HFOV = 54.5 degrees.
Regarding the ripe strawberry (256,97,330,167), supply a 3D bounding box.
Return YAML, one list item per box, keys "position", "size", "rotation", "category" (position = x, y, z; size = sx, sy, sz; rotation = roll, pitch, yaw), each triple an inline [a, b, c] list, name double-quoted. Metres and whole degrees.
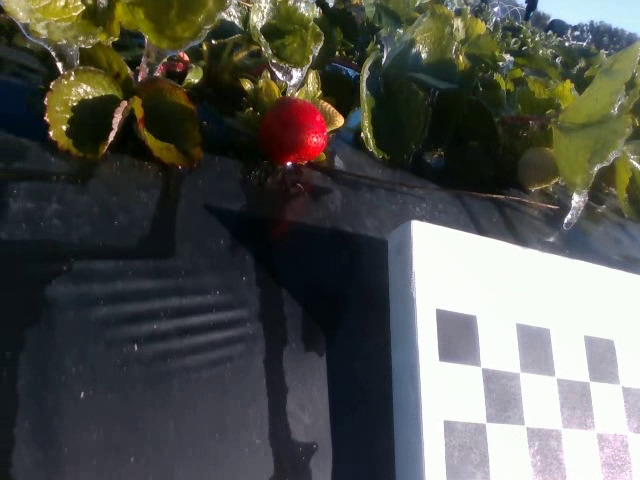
- position: [-0.006, -0.041, 0.245]
  size: [0.039, 0.040, 0.039]
  rotation: [-2, 8, -19]
  category: "ripe strawberry"
